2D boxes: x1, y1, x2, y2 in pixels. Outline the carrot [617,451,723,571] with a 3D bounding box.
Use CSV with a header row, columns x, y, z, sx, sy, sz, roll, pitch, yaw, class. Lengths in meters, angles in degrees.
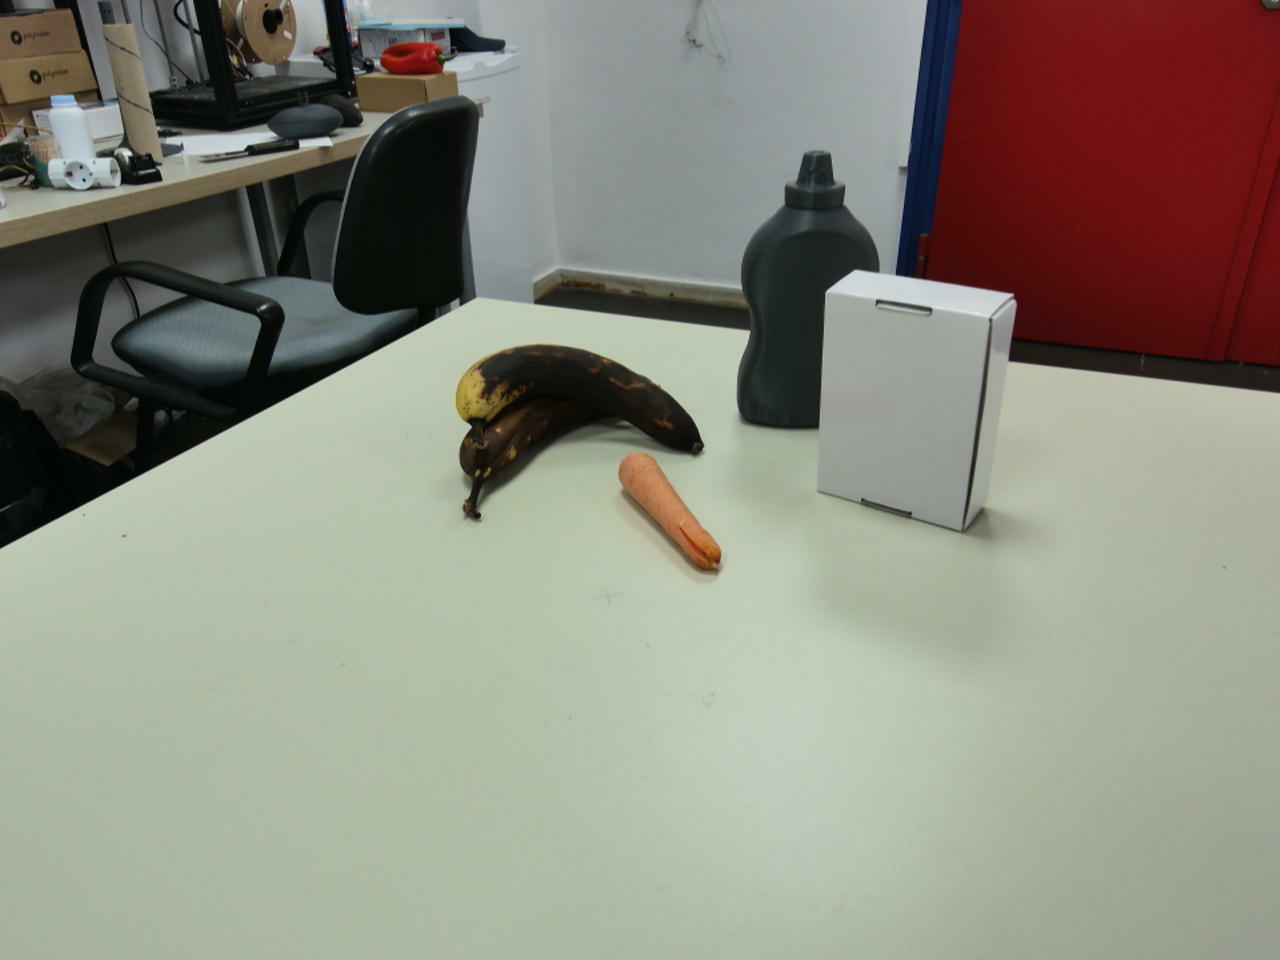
x,y,z,sx,sy,sz,roll,pitch,yaw,class
0.017,0.016,0.647,0.030,0.032,0.136,-10,27,-19,carrot
